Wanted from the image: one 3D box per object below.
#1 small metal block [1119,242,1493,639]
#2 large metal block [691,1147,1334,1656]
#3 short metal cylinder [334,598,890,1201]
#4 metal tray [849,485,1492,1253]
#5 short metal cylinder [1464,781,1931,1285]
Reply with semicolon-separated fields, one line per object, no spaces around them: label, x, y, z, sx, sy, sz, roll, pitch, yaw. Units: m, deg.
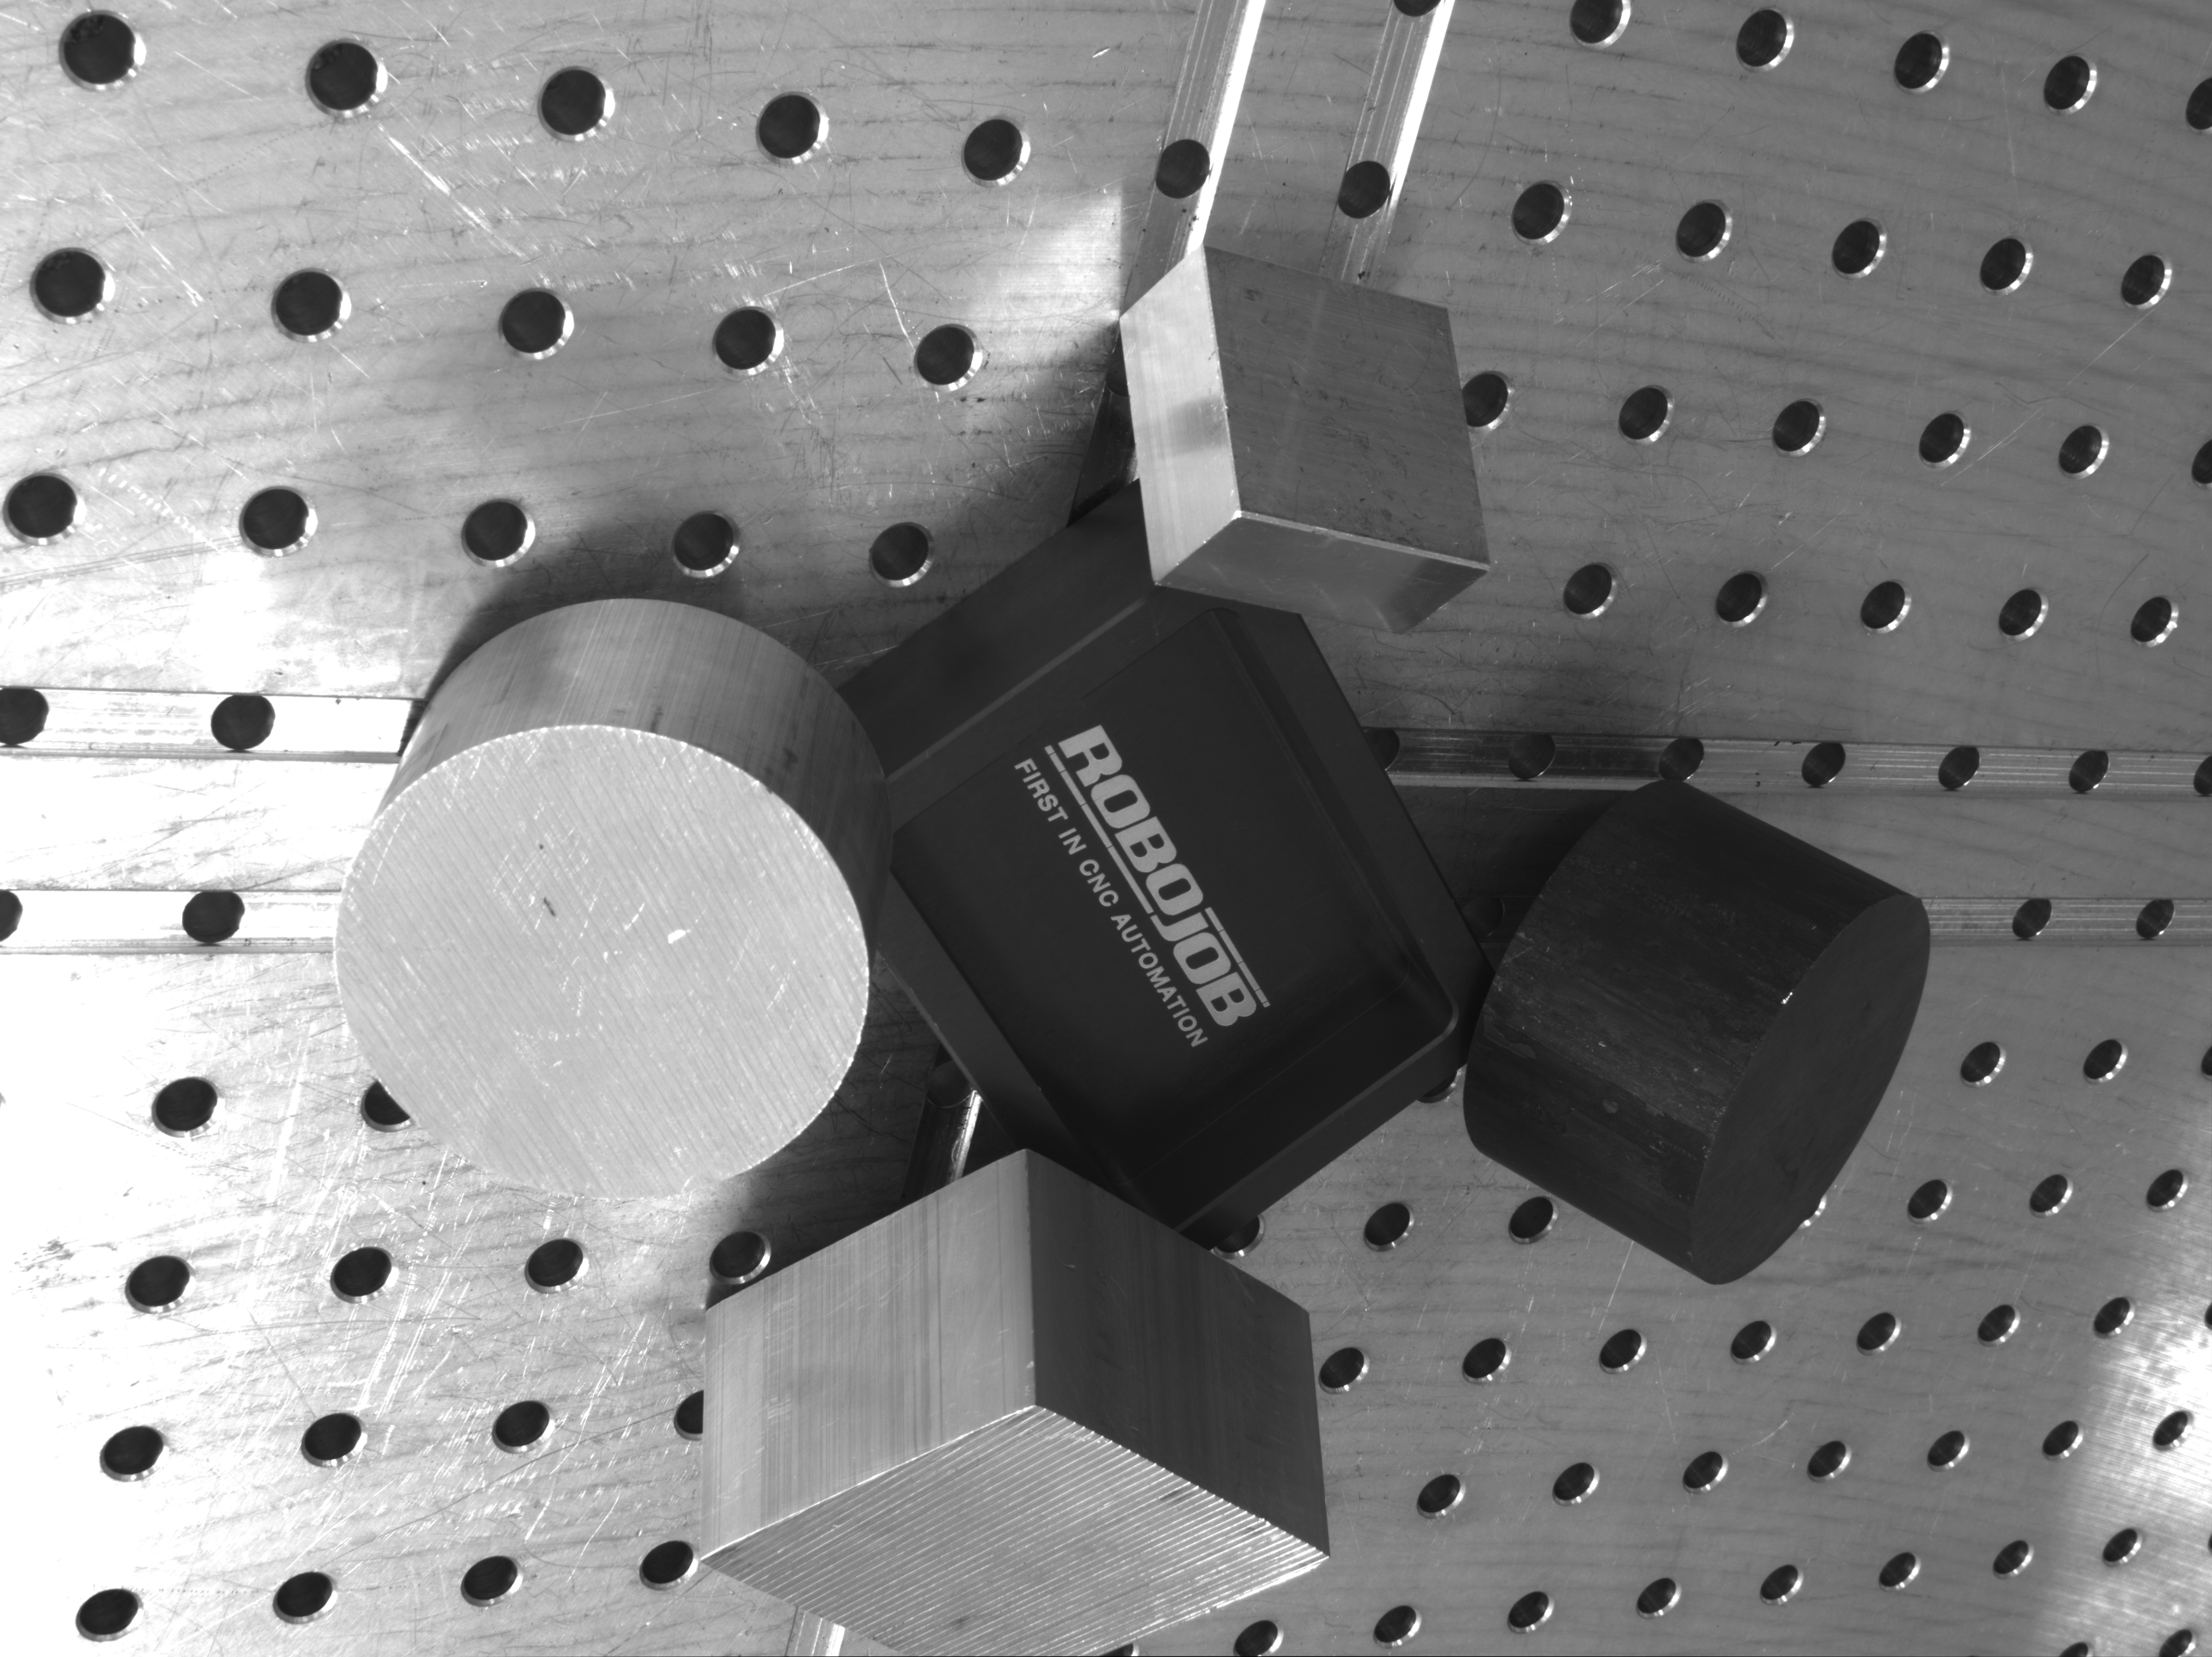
small metal block;0.032;-0.063;0.601;0.050;0.050;0.025;9;151;-32
large metal block;-0.017;0.109;0.660;0.080;0.050;0.080;-28;136;29
short metal cylinder;-0.075;0.011;0.572;0.080;0.050;0.080;0;116;0
metal tray;0.009;0.012;0.649;0.090;0.030;0.130;-36;129;-5
short metal cylinder;0.111;0.038;0.688;0.080;0.050;0.080;-38;144;-35
